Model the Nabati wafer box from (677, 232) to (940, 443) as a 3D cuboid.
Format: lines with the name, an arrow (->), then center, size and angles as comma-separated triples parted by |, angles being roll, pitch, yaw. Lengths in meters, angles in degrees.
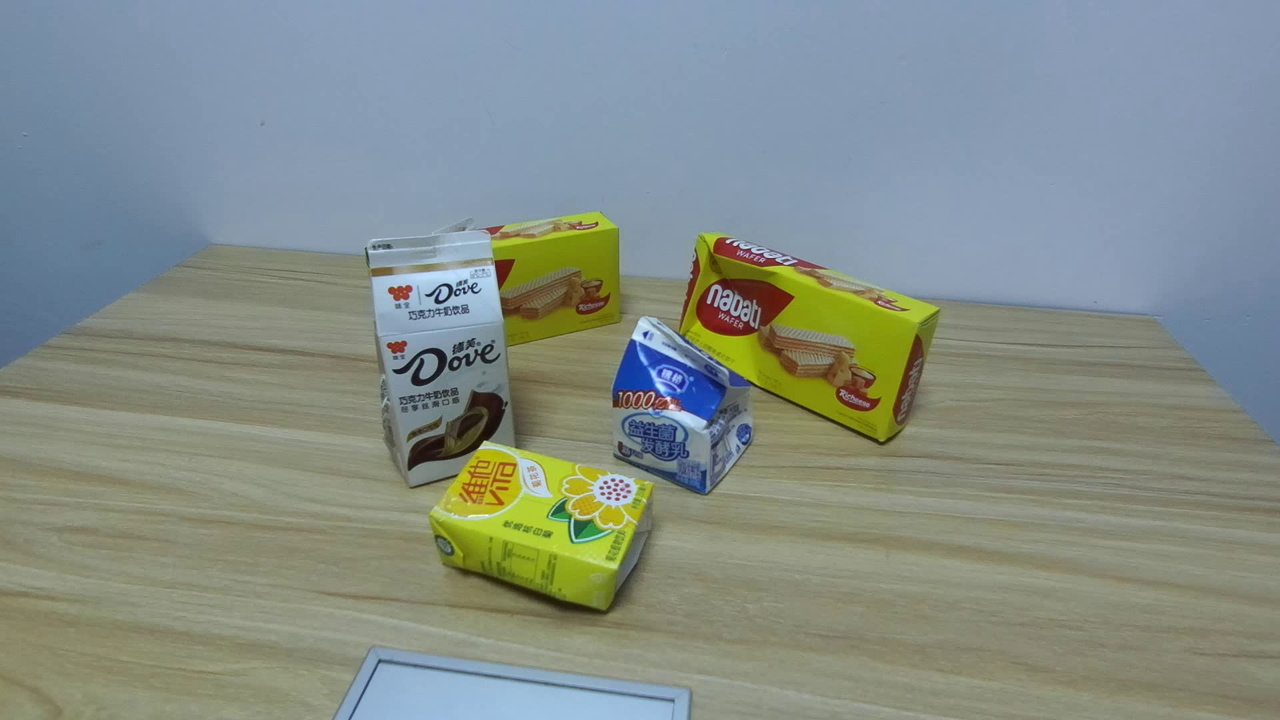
Nabati wafer box -> 0.114, -0.024, 0.537 | 0.202, 0.096, 0.042 | 28, 31, 34

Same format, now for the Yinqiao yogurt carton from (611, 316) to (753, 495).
Yinqiao yogurt carton -> 0.028, 0.020, 0.464 | 0.083, 0.093, 0.077 | 19, 36, 27

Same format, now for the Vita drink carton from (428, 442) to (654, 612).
Vita drink carton -> -0.054, 0.094, 0.397 | 0.108, 0.043, 0.076 | 12, 37, 14

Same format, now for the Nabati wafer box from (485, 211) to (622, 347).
Nabati wafer box -> -0.114, -0.061, 0.594 | 0.203, 0.093, 0.042 | -13, 33, -20

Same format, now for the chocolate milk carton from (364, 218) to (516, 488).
chocolate milk carton -> -0.131, -0.007, 0.449 | 0.084, 0.155, 0.072 | -14, 36, -22
